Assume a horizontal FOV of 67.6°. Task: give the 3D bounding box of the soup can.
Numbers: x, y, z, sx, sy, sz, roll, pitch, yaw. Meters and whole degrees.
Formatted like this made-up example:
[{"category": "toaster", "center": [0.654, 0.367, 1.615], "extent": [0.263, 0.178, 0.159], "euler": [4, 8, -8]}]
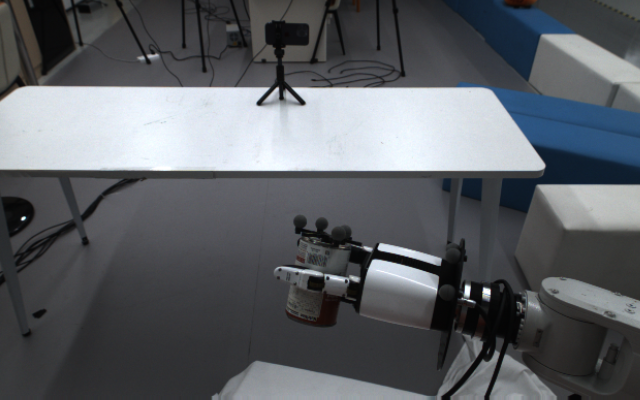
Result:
[{"category": "soup can", "center": [0.000, 0.100, 0.612], "extent": [0.067, 0.101, 0.067], "euler": [12, 2, 0]}]
